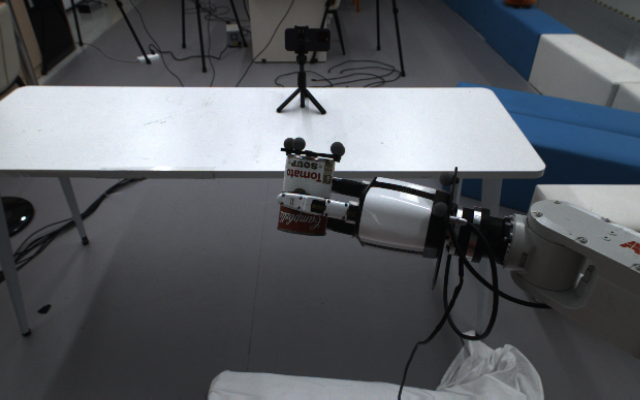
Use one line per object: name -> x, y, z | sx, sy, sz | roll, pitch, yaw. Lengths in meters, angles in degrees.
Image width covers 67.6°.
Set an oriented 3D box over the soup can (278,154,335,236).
soup can -> -0.018, -0.008, 0.655 | 0.067, 0.101, 0.067 | 7, 4, 0
